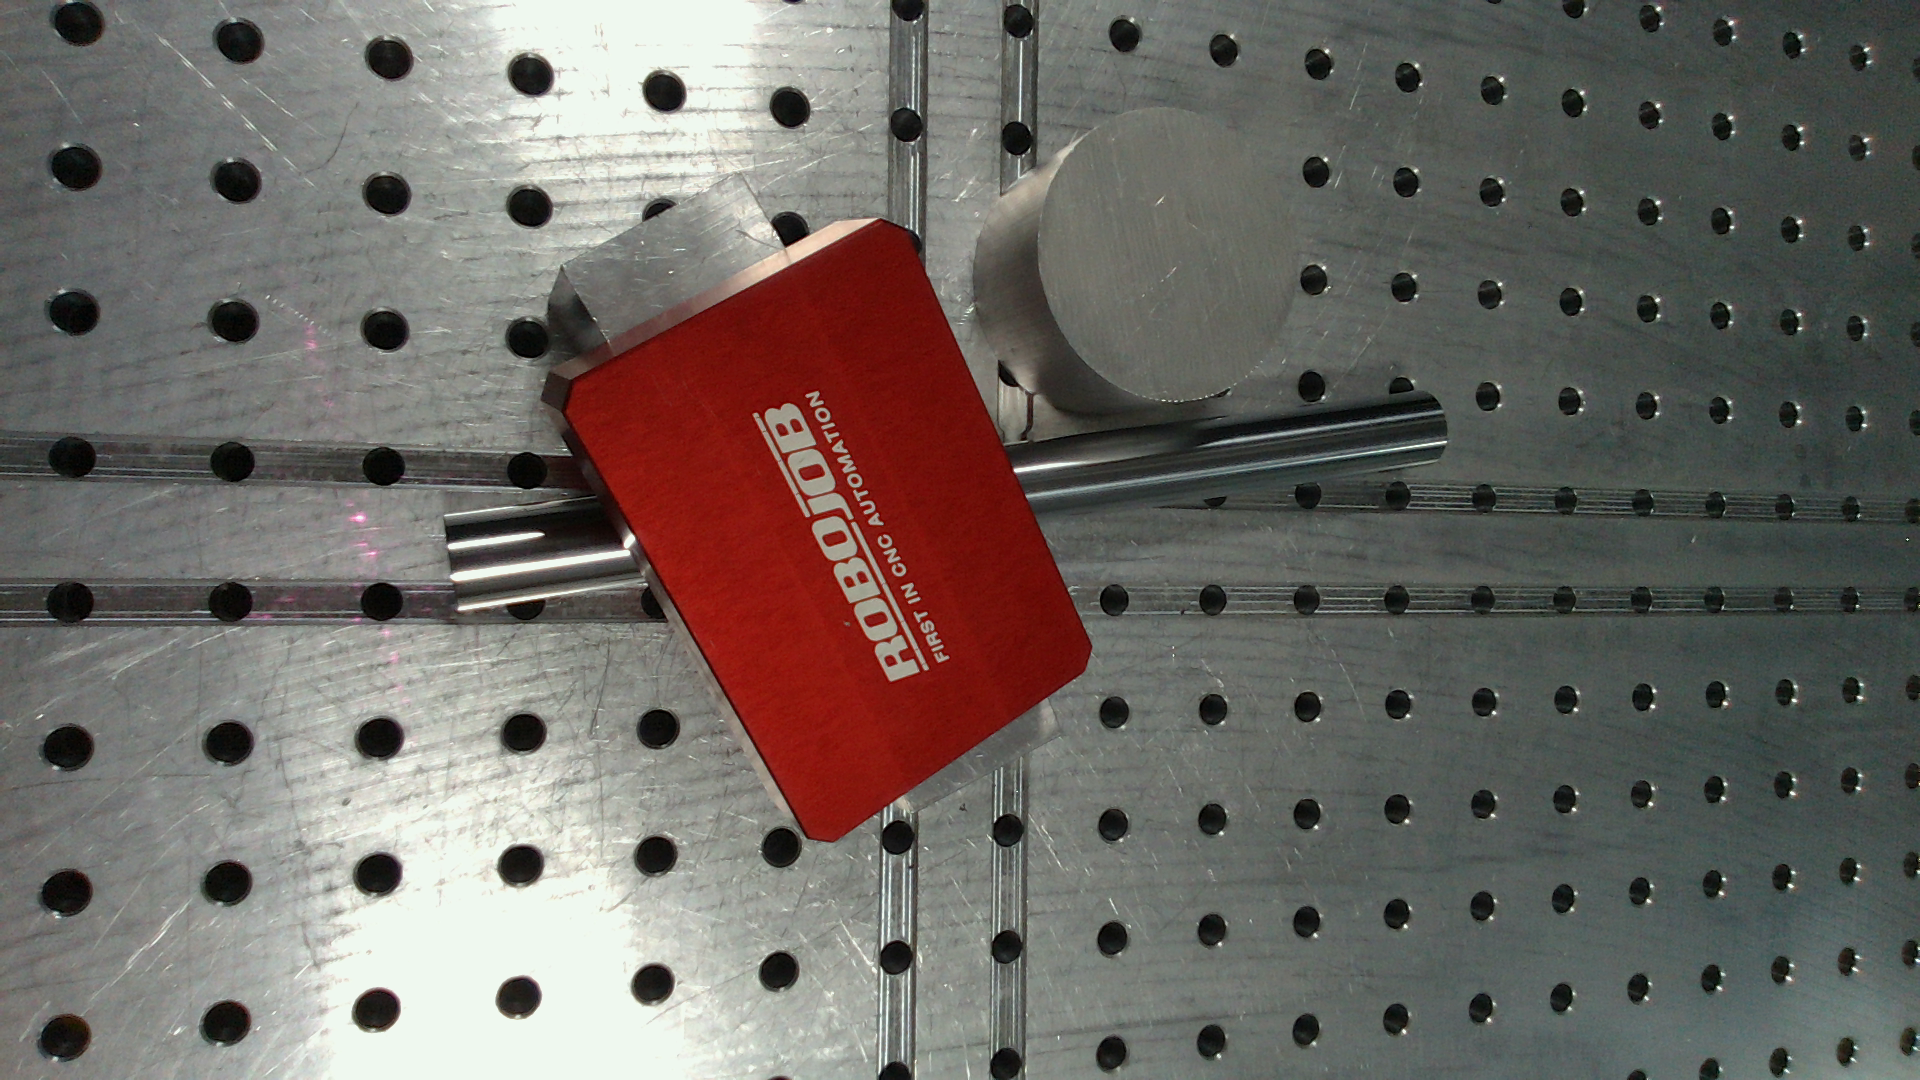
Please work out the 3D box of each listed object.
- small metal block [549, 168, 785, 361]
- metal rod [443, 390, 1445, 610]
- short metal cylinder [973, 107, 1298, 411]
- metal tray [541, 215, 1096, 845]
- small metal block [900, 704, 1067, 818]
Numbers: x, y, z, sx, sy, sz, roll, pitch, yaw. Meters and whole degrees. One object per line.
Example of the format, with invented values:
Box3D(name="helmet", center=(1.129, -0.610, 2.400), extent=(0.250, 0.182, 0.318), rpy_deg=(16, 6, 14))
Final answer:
Box3D(name="small metal block", center=(-0.076, -0.067, 0.354), extent=(0.050, 0.050, 0.025), rpy_deg=(-33, 101, -17))
Box3D(name="metal rod", center=(0.011, -0.016, 0.400), extent=(0.301, 0.025, 0.025), rpy_deg=(-9, 93, -20))
Box3D(name="short metal cylinder", center=(0.050, -0.078, 0.400), extent=(0.080, 0.050, 0.080), rpy_deg=(0, 90, -20))
Box3D(name="metal tray", center=(-0.031, -0.002, 0.341), extent=(0.090, 0.030, 0.130), rpy_deg=(-32, 112, -17))
Box3D(name="small metal block", center=(-0.004, 0.043, 0.393), extent=(0.050, 0.025, 0.050), rpy_deg=(-25, 98, -18))
